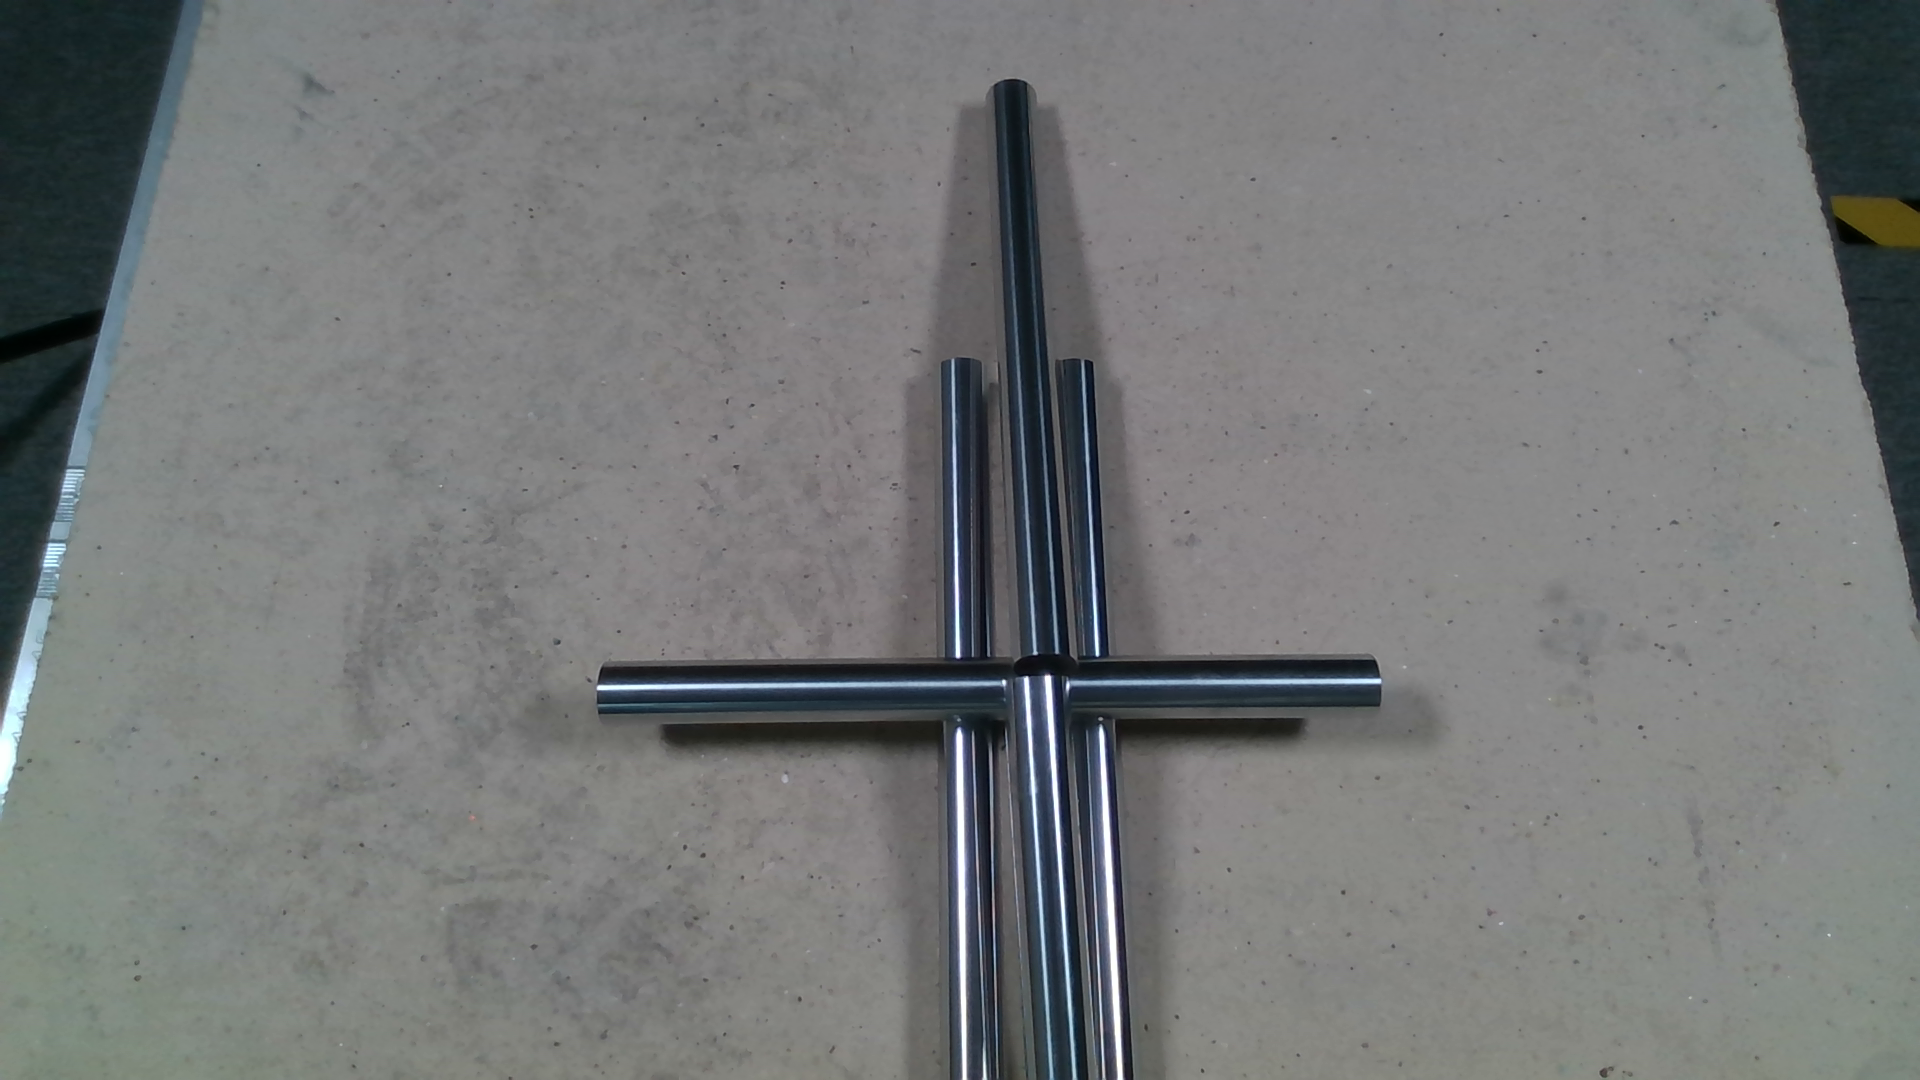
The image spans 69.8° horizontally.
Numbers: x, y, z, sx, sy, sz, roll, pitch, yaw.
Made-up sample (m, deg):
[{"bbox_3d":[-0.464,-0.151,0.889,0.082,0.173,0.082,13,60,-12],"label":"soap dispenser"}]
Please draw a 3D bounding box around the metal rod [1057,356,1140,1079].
[{"bbox_3d":[0.053,0.064,0.565,0.025,0.025,0.299,-1,70,0],"label":"metal rod"}]

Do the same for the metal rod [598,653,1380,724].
[{"bbox_3d":[0.011,0.058,0.541,0.300,0.025,0.025,-1,70,0],"label":"metal rod"}]

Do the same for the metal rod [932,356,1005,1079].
[{"bbox_3d":[0.002,0.064,0.565,0.025,0.025,0.299,-1,70,0],"label":"metal rod"}]

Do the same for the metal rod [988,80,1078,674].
[{"bbox_3d":[0.028,-0.082,0.591,0.025,0.025,0.299,-1,61,0],"label":"metal rod"}]

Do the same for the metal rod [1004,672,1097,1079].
[{"bbox_3d":[0.037,0.198,0.491,0.025,0.025,0.300,-3,80,-1],"label":"metal rod"}]
